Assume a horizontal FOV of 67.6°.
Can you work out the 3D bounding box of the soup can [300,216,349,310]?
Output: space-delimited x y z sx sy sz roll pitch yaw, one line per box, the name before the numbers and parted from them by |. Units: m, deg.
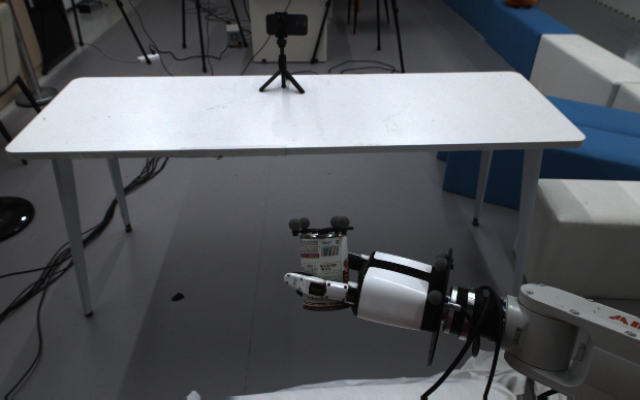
soup can | 0.008 0.098 0.671 0.067 0.101 0.067 -3 -1 0
